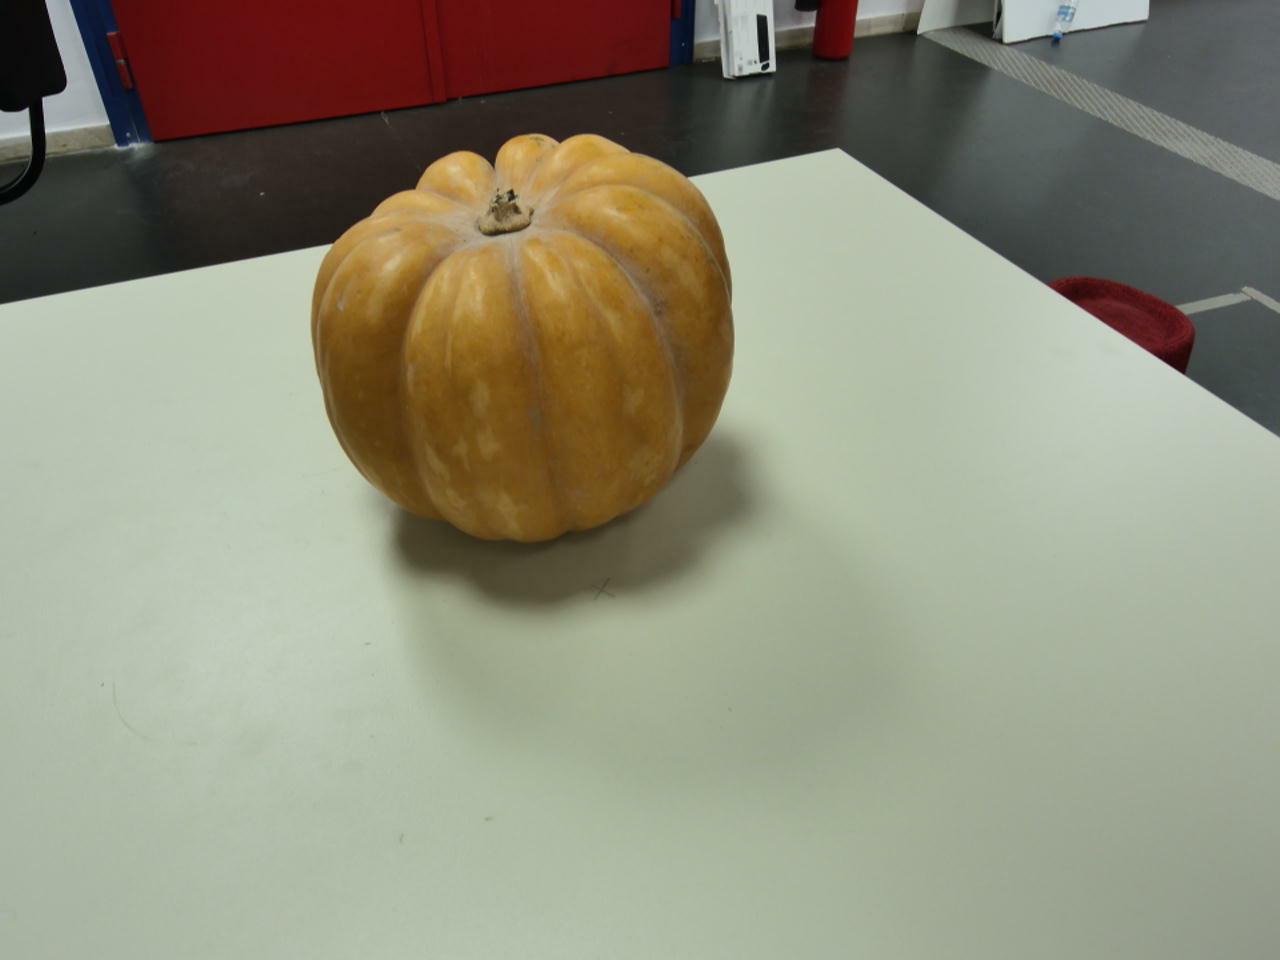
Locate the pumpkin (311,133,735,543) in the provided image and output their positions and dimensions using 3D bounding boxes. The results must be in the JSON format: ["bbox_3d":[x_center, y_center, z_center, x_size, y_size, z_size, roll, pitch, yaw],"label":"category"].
[{"bbox_3d":[-0.058,-0.075,0.543,0.230,0.194,0.230,0,39,0],"label":"pumpkin"}]
